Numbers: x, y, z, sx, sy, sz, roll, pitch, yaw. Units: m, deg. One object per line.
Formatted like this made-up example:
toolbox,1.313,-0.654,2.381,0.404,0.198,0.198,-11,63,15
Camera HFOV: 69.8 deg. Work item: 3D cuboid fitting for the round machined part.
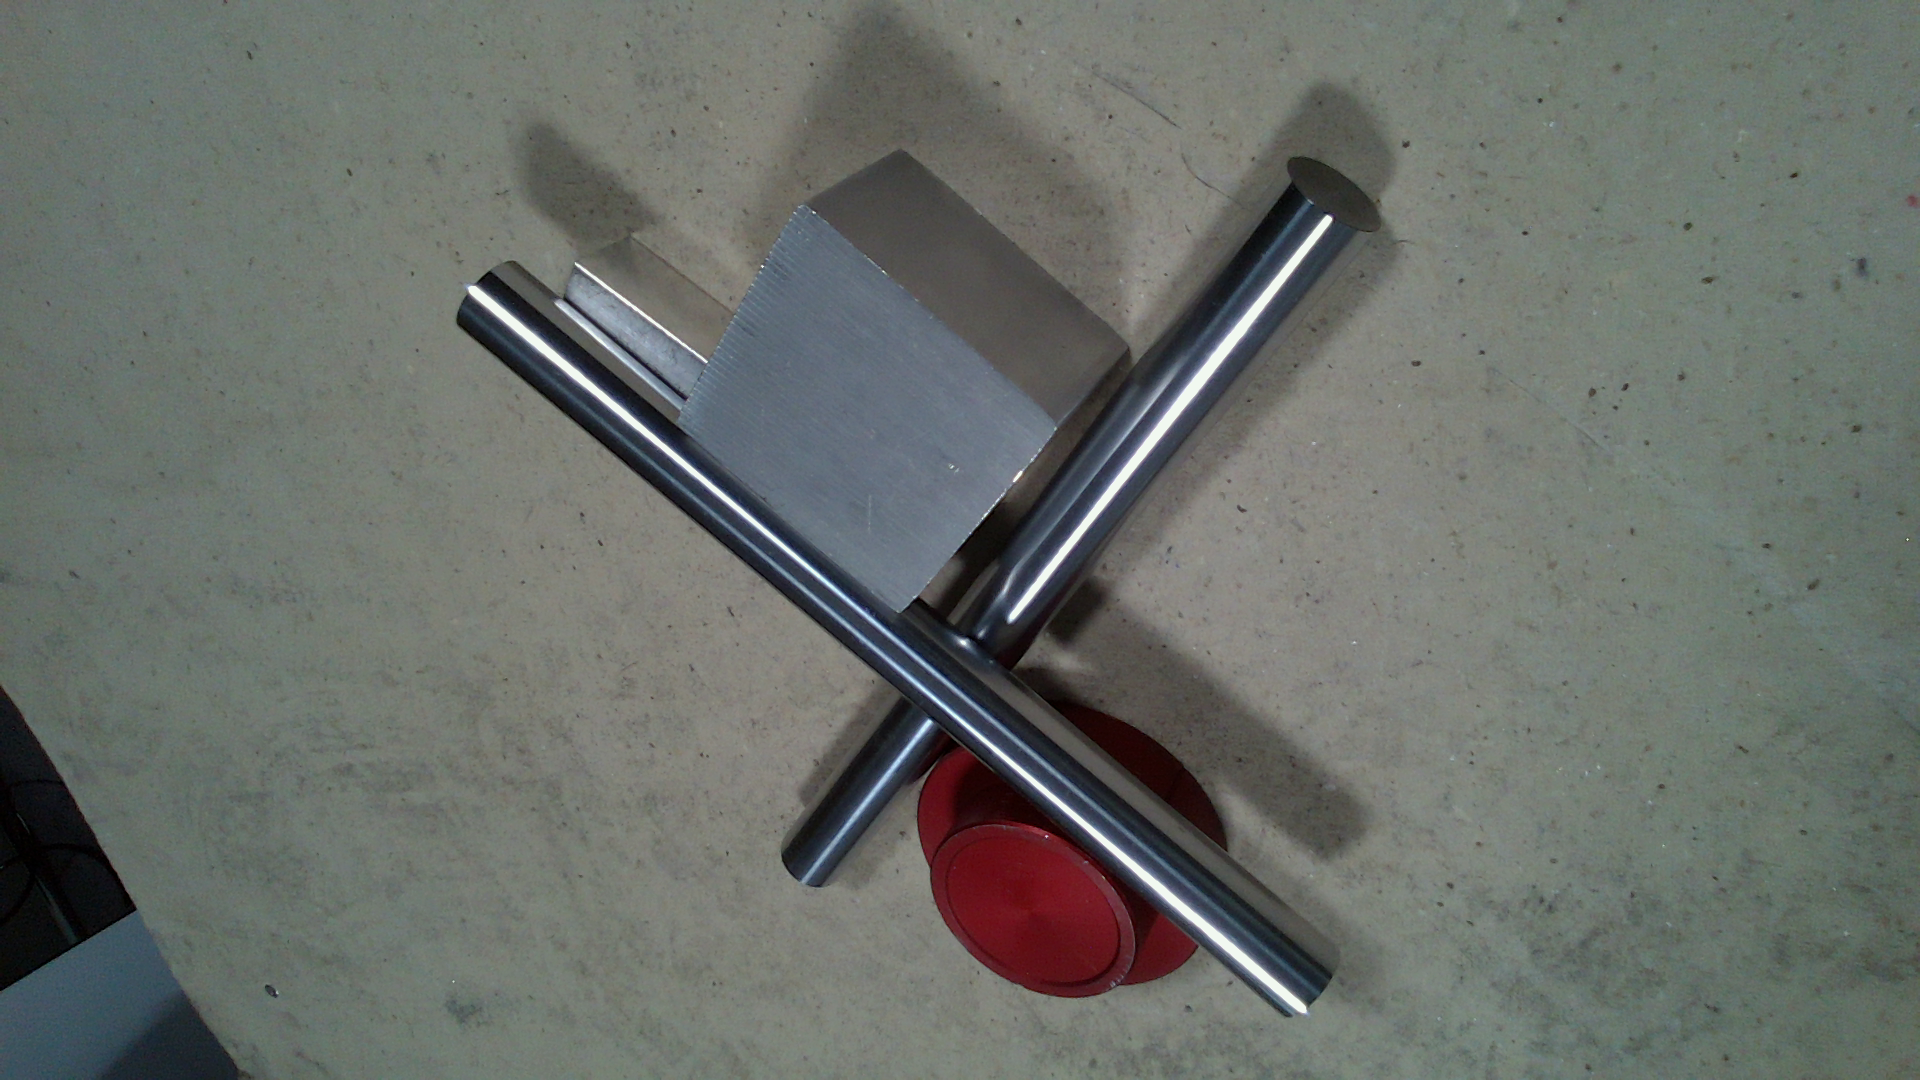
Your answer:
round machined part,0.030,0.102,0.429,0.098,0.042,0.098,13,124,21

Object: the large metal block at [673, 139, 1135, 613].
large metal block,-0.016,-0.042,0.361,0.080,0.050,0.080,41,129,0

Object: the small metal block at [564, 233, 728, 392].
small metal block,-0.094,-0.054,0.412,0.050,0.025,0.050,37,129,3

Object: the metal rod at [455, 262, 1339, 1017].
metal rod,-0.018,0.027,0.387,0.300,0.025,0.025,40,129,1

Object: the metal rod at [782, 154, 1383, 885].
metal rod,0.015,0.018,0.398,0.025,0.025,0.299,38,129,3
